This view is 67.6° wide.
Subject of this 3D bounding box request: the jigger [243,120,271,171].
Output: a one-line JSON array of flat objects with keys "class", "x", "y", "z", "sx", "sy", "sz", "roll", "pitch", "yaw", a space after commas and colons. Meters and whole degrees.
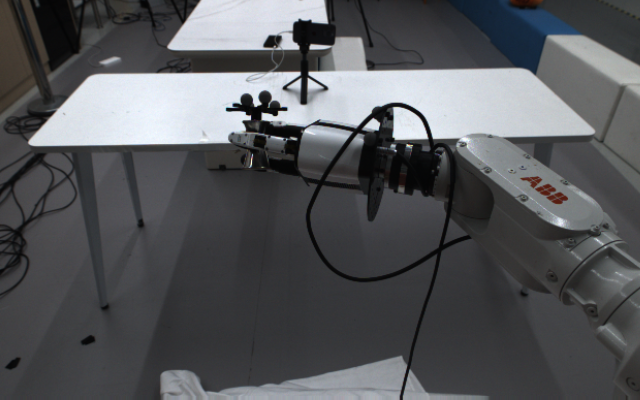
[{"class": "jigger", "x": -0.091, "y": -0.078, "z": 0.695, "sx": 0.043, "sy": 0.071, "sz": 0.043, "roll": 0, "pitch": 2, "yaw": 0}]
